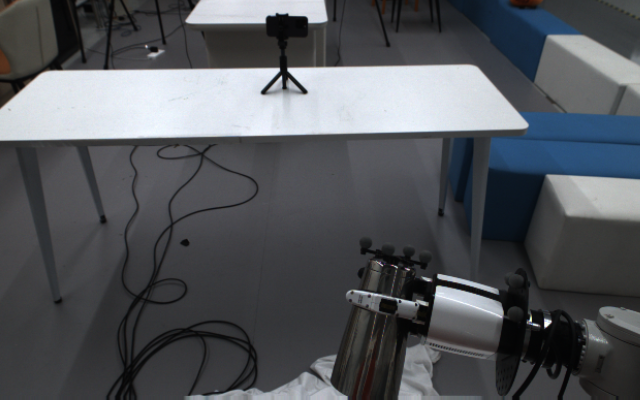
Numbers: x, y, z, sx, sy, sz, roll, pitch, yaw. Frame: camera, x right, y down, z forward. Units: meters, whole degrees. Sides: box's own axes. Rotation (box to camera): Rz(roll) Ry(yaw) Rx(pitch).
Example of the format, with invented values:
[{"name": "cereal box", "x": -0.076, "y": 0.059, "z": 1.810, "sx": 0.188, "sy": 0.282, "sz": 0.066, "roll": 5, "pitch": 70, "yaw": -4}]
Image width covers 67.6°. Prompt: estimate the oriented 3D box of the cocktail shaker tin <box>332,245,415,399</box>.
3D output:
[{"name": "cocktail shaker tin", "x": 0.080, "y": 0.164, "z": 0.644, "sx": 0.093, "sy": 0.170, "sz": 0.093, "roll": 13, "pitch": 2, "yaw": 0}]
